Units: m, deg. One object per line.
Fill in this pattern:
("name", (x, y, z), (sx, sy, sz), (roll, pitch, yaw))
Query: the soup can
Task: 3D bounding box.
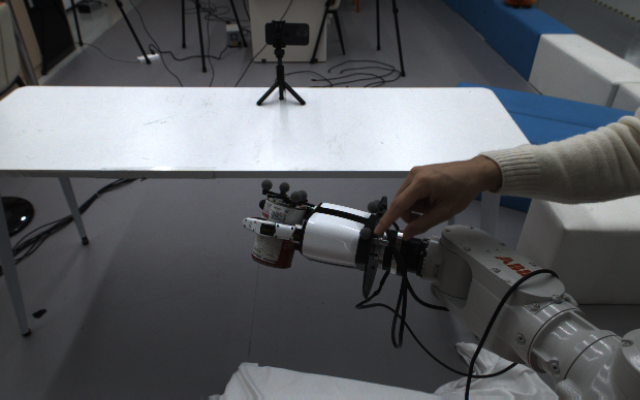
("soup can", (-0.065, 0.051, 0.773), (0.067, 0.101, 0.067), (15, 7, -2))
